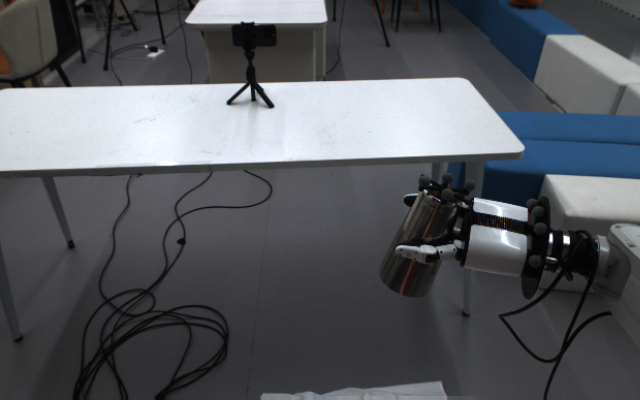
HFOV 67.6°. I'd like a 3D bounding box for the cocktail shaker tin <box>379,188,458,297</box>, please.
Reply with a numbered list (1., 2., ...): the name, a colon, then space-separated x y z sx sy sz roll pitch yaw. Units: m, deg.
1. cocktail shaker tin: 0.166 0.059 0.774 0.093 0.170 0.093 12 29 -7
